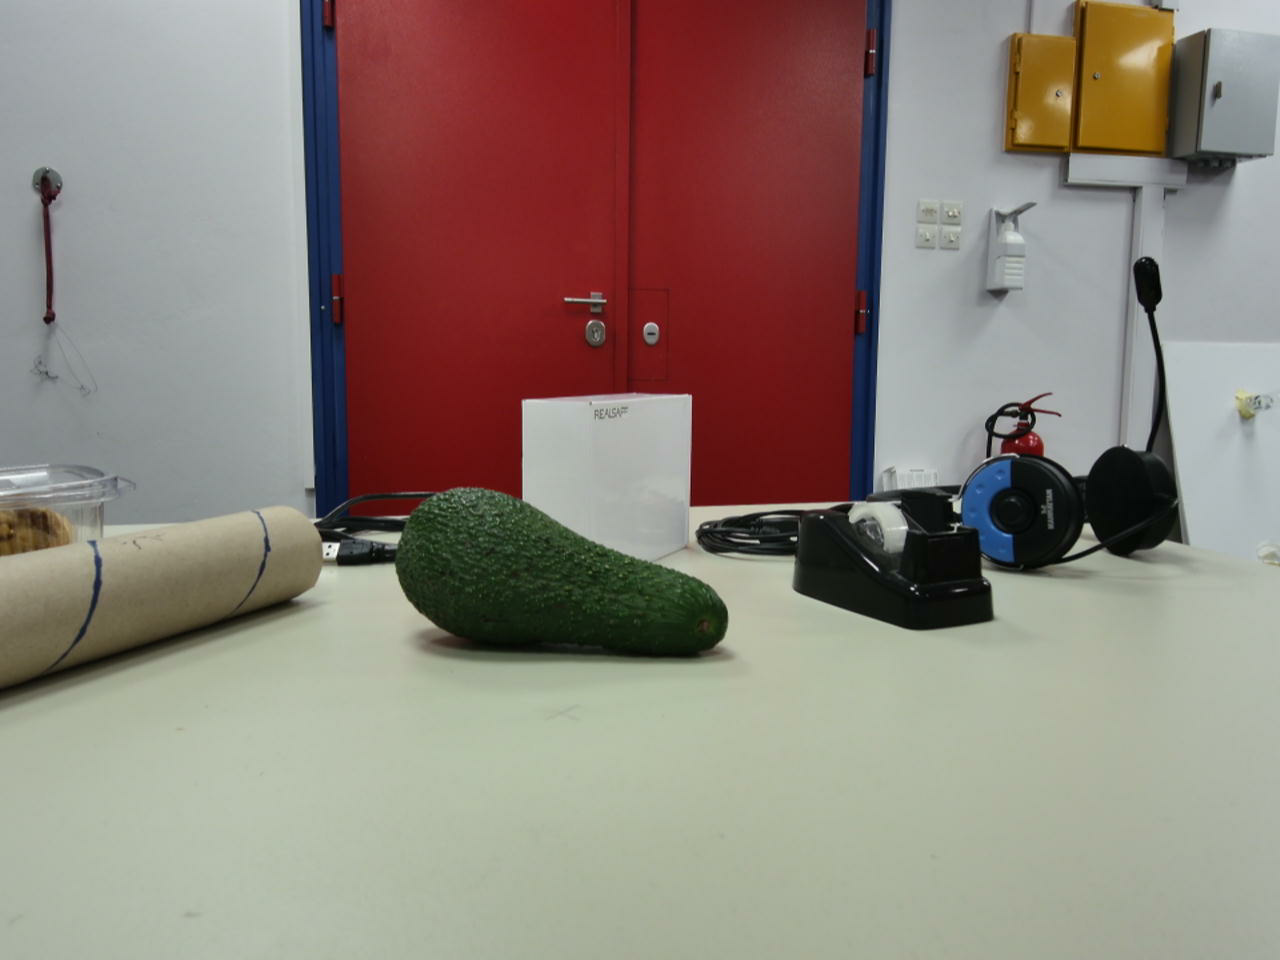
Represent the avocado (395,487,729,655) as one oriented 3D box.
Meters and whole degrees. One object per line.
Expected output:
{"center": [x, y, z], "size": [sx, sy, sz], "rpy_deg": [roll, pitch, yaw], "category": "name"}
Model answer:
{"center": [-0.033, 0.036, 0.421], "size": [0.141, 0.067, 0.063], "rpy_deg": [0, 4, 2], "category": "avocado"}
